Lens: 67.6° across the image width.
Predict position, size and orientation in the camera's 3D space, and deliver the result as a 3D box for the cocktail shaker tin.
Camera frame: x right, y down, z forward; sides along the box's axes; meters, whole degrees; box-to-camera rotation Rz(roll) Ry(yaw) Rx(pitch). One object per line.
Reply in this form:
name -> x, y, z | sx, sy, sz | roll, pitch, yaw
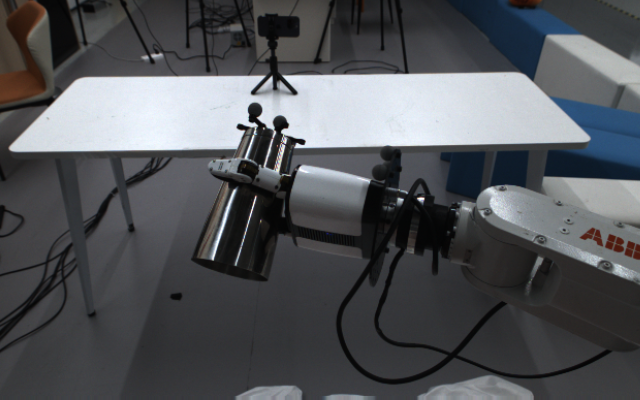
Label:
cocktail shaker tin -> -0.083, 0.003, 0.580 | 0.093, 0.093, 0.170 | 11, 71, 12
